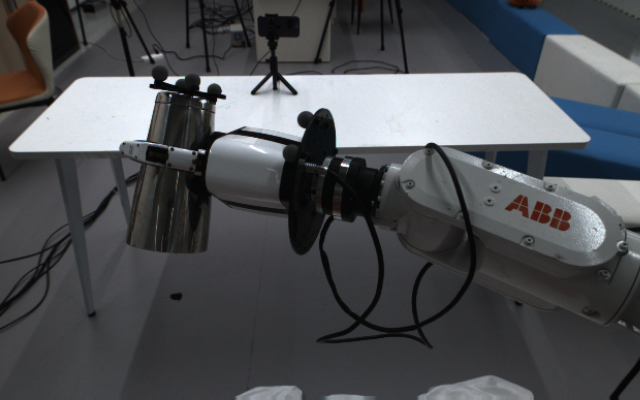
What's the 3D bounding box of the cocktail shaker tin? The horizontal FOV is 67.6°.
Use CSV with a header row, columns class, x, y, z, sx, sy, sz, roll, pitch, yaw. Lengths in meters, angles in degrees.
class,x,y,z,sx,sy,sz,roll,pitch,yaw
cocktail shaker tin,-0.163,-0.031,0.556,0.093,0.170,0.093,8,3,0
